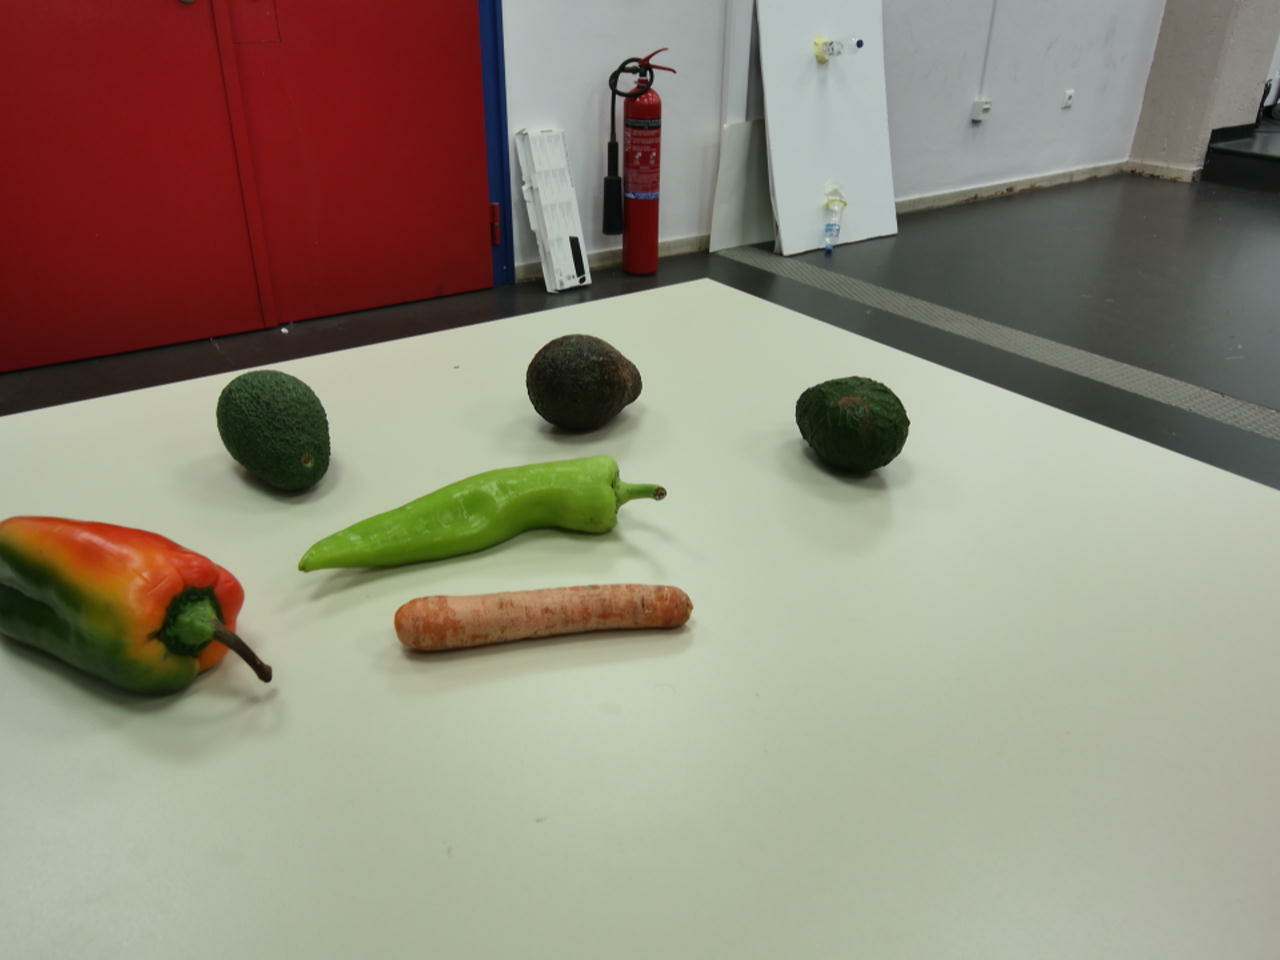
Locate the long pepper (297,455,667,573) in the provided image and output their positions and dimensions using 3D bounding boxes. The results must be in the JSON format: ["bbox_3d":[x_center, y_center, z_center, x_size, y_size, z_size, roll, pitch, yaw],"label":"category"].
[{"bbox_3d":[-0.090,0.019,0.572,0.204,0.045,0.065,-9,27,-19],"label":"long pepper"}]
